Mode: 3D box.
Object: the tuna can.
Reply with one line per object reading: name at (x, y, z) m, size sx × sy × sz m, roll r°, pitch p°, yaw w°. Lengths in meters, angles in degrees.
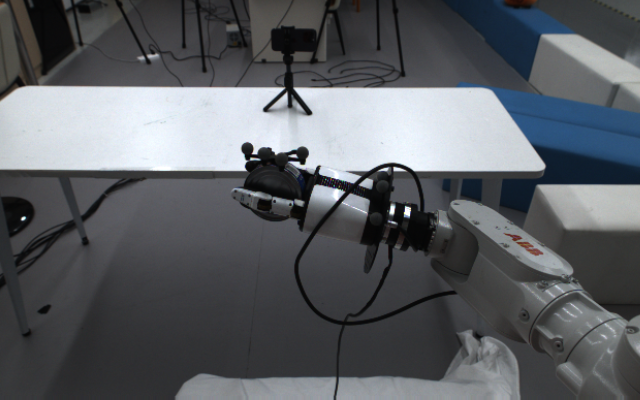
tuna can at (-0.063, -0.014, 0.695) m, size 0.085 × 0.085 × 0.034 m, roll 9°, pitch 23°, yaw 9°
